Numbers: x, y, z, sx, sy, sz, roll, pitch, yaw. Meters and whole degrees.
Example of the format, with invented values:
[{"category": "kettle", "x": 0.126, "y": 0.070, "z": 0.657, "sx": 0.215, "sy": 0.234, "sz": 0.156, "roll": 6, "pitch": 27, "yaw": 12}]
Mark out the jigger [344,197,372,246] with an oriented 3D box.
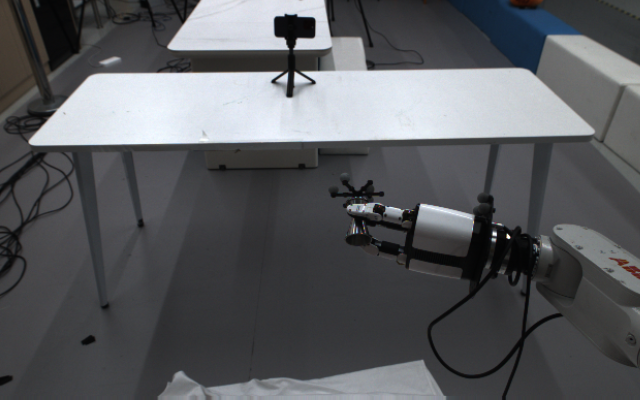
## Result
[{"category": "jigger", "x": 0.061, "y": 0.030, "z": 0.774, "sx": 0.043, "sy": 0.043, "sz": 0.071, "roll": 2, "pitch": 59, "yaw": -1}]
